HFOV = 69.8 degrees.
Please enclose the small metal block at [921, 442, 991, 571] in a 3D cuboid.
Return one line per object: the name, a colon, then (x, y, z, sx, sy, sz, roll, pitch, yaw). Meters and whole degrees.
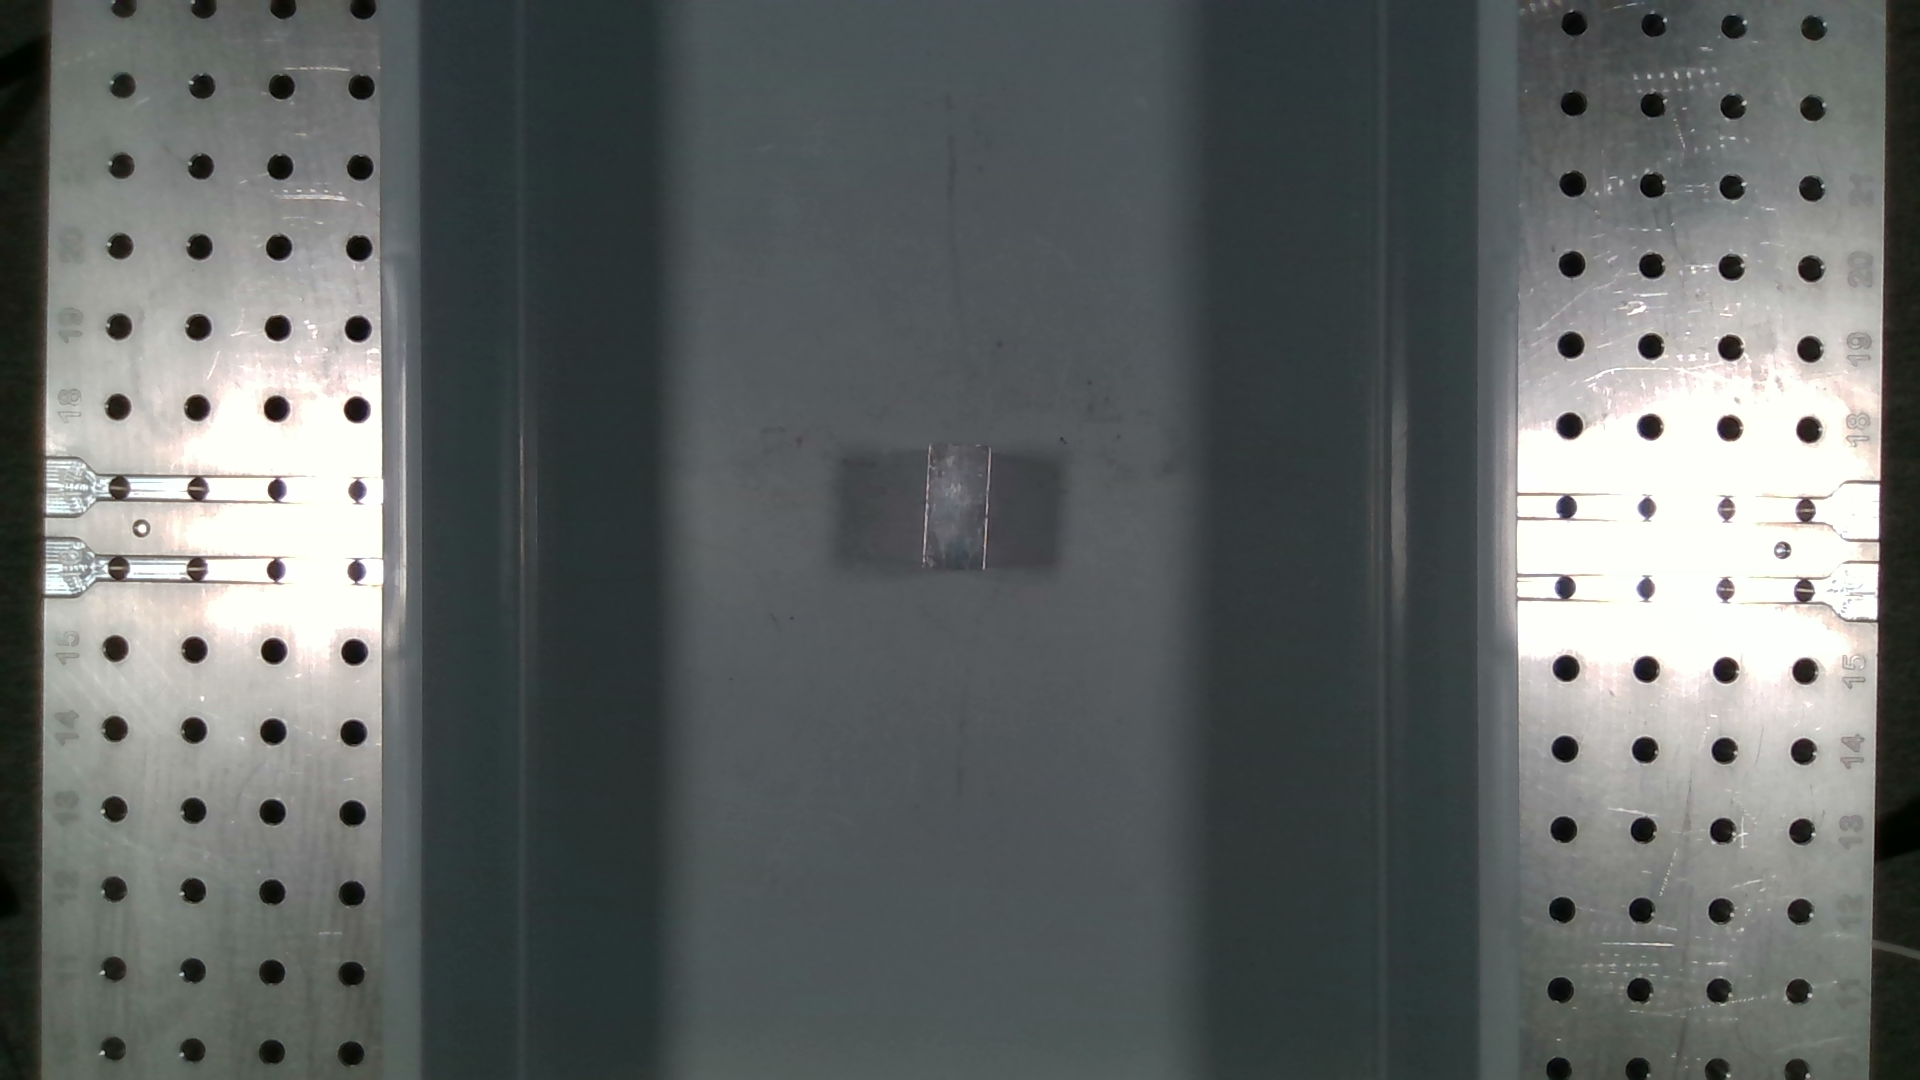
small metal block: (-0.002, -0.013, 0.571, 0.025, 0.050, 0.050, 3, 90, 0)
